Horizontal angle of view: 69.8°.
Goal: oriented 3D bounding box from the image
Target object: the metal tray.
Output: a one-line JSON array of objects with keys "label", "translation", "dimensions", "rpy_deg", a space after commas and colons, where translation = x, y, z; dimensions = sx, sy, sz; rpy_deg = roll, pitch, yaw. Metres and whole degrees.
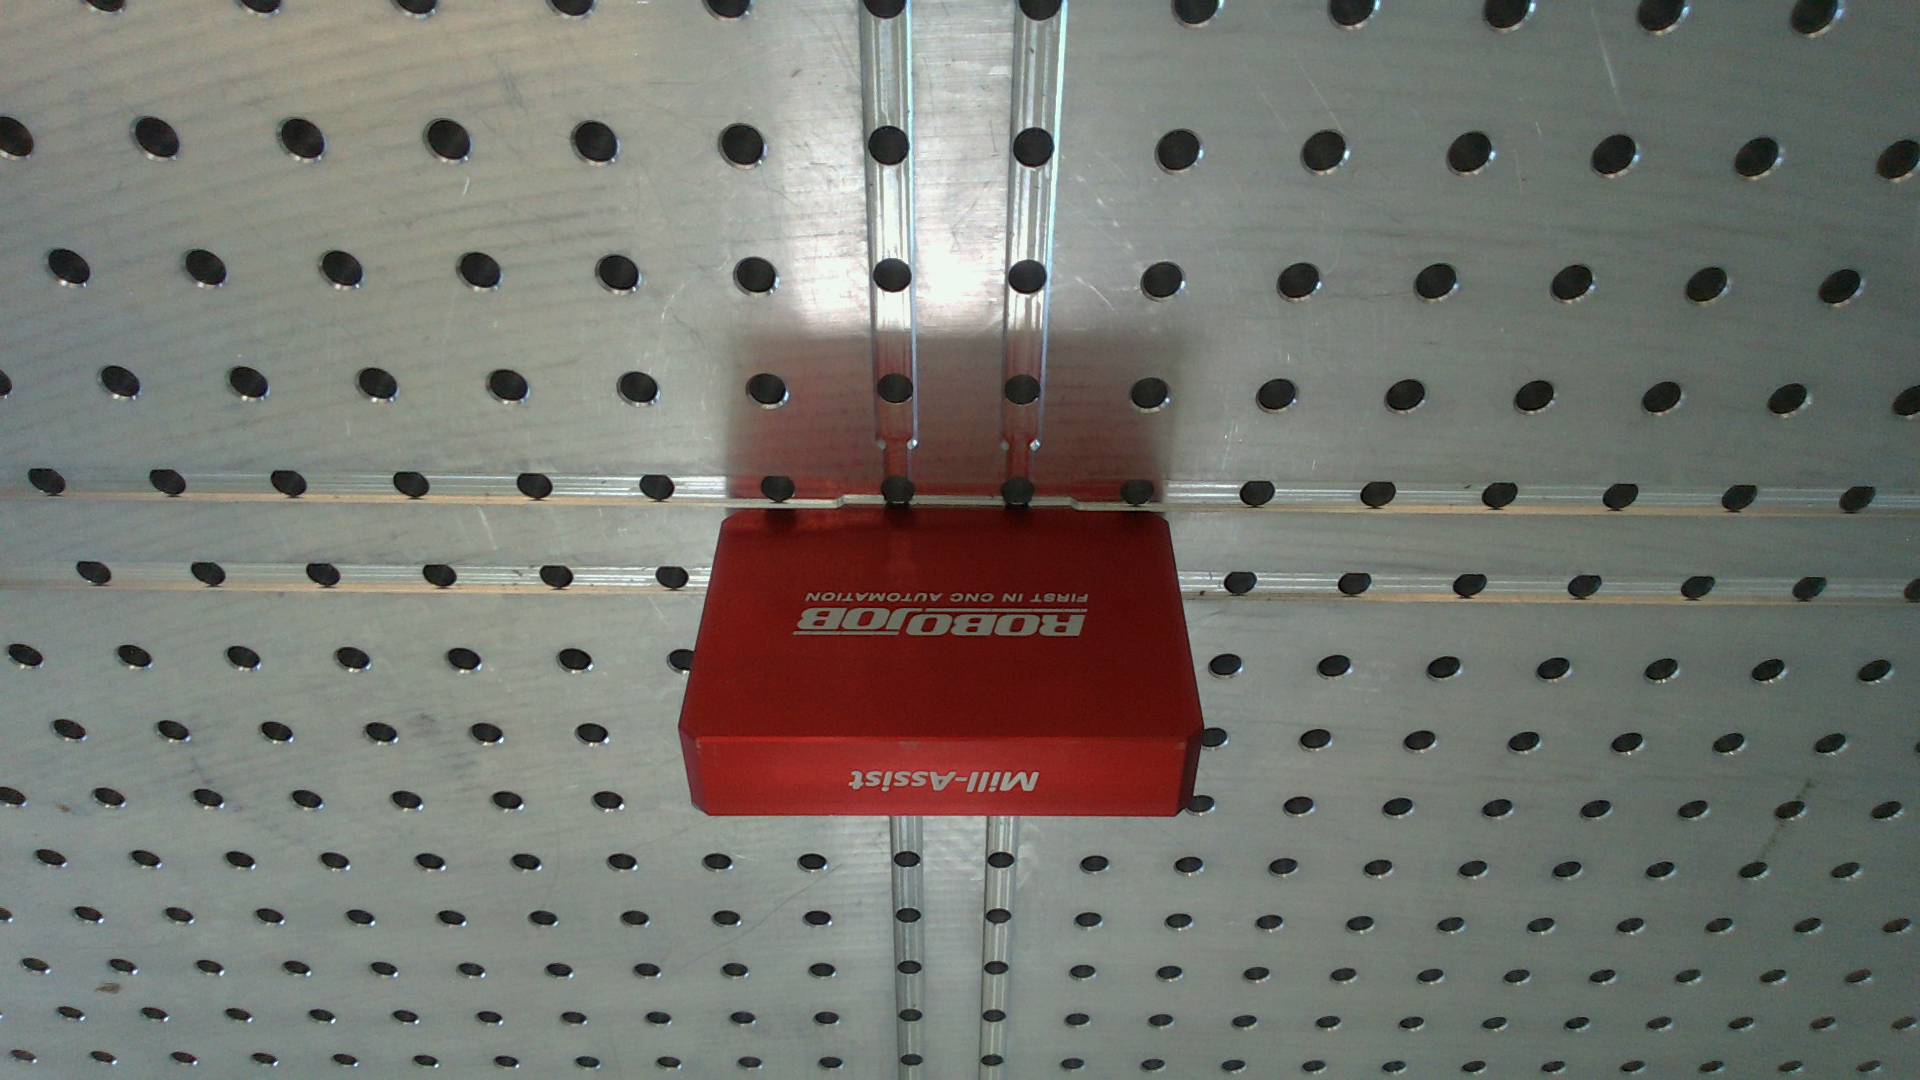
[{"label": "metal tray", "translation": [-0.004, 0.031, 0.377], "dimensions": [0.130, 0.090, 0.030], "rpy_deg": [0, 130, 0]}]
